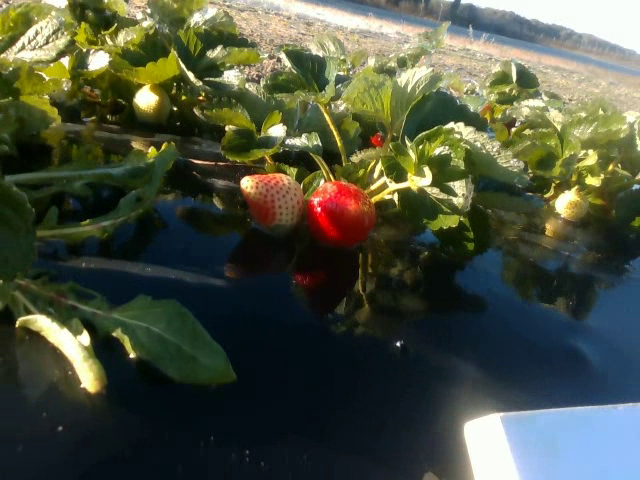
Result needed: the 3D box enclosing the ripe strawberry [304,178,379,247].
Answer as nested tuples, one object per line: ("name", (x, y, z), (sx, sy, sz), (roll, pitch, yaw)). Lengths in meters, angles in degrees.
("ripe strawberry", (0.015, -0.017, 0.302), (0.040, 0.038, 0.056), (-22, -12, -10))
